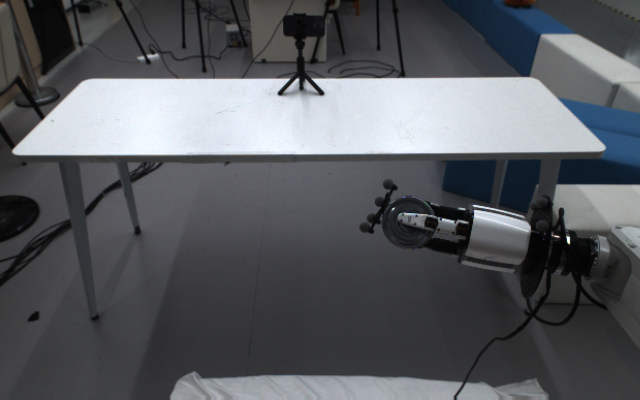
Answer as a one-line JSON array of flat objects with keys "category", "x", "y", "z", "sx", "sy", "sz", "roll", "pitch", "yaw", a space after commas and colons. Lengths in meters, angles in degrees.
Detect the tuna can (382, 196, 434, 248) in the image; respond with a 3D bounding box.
[{"category": "tuna can", "x": 0.144, "y": 0.035, "z": 0.775, "sx": 0.085, "sy": 0.085, "sz": 0.034, "roll": 9, "pitch": -5, "yaw": 9}]
